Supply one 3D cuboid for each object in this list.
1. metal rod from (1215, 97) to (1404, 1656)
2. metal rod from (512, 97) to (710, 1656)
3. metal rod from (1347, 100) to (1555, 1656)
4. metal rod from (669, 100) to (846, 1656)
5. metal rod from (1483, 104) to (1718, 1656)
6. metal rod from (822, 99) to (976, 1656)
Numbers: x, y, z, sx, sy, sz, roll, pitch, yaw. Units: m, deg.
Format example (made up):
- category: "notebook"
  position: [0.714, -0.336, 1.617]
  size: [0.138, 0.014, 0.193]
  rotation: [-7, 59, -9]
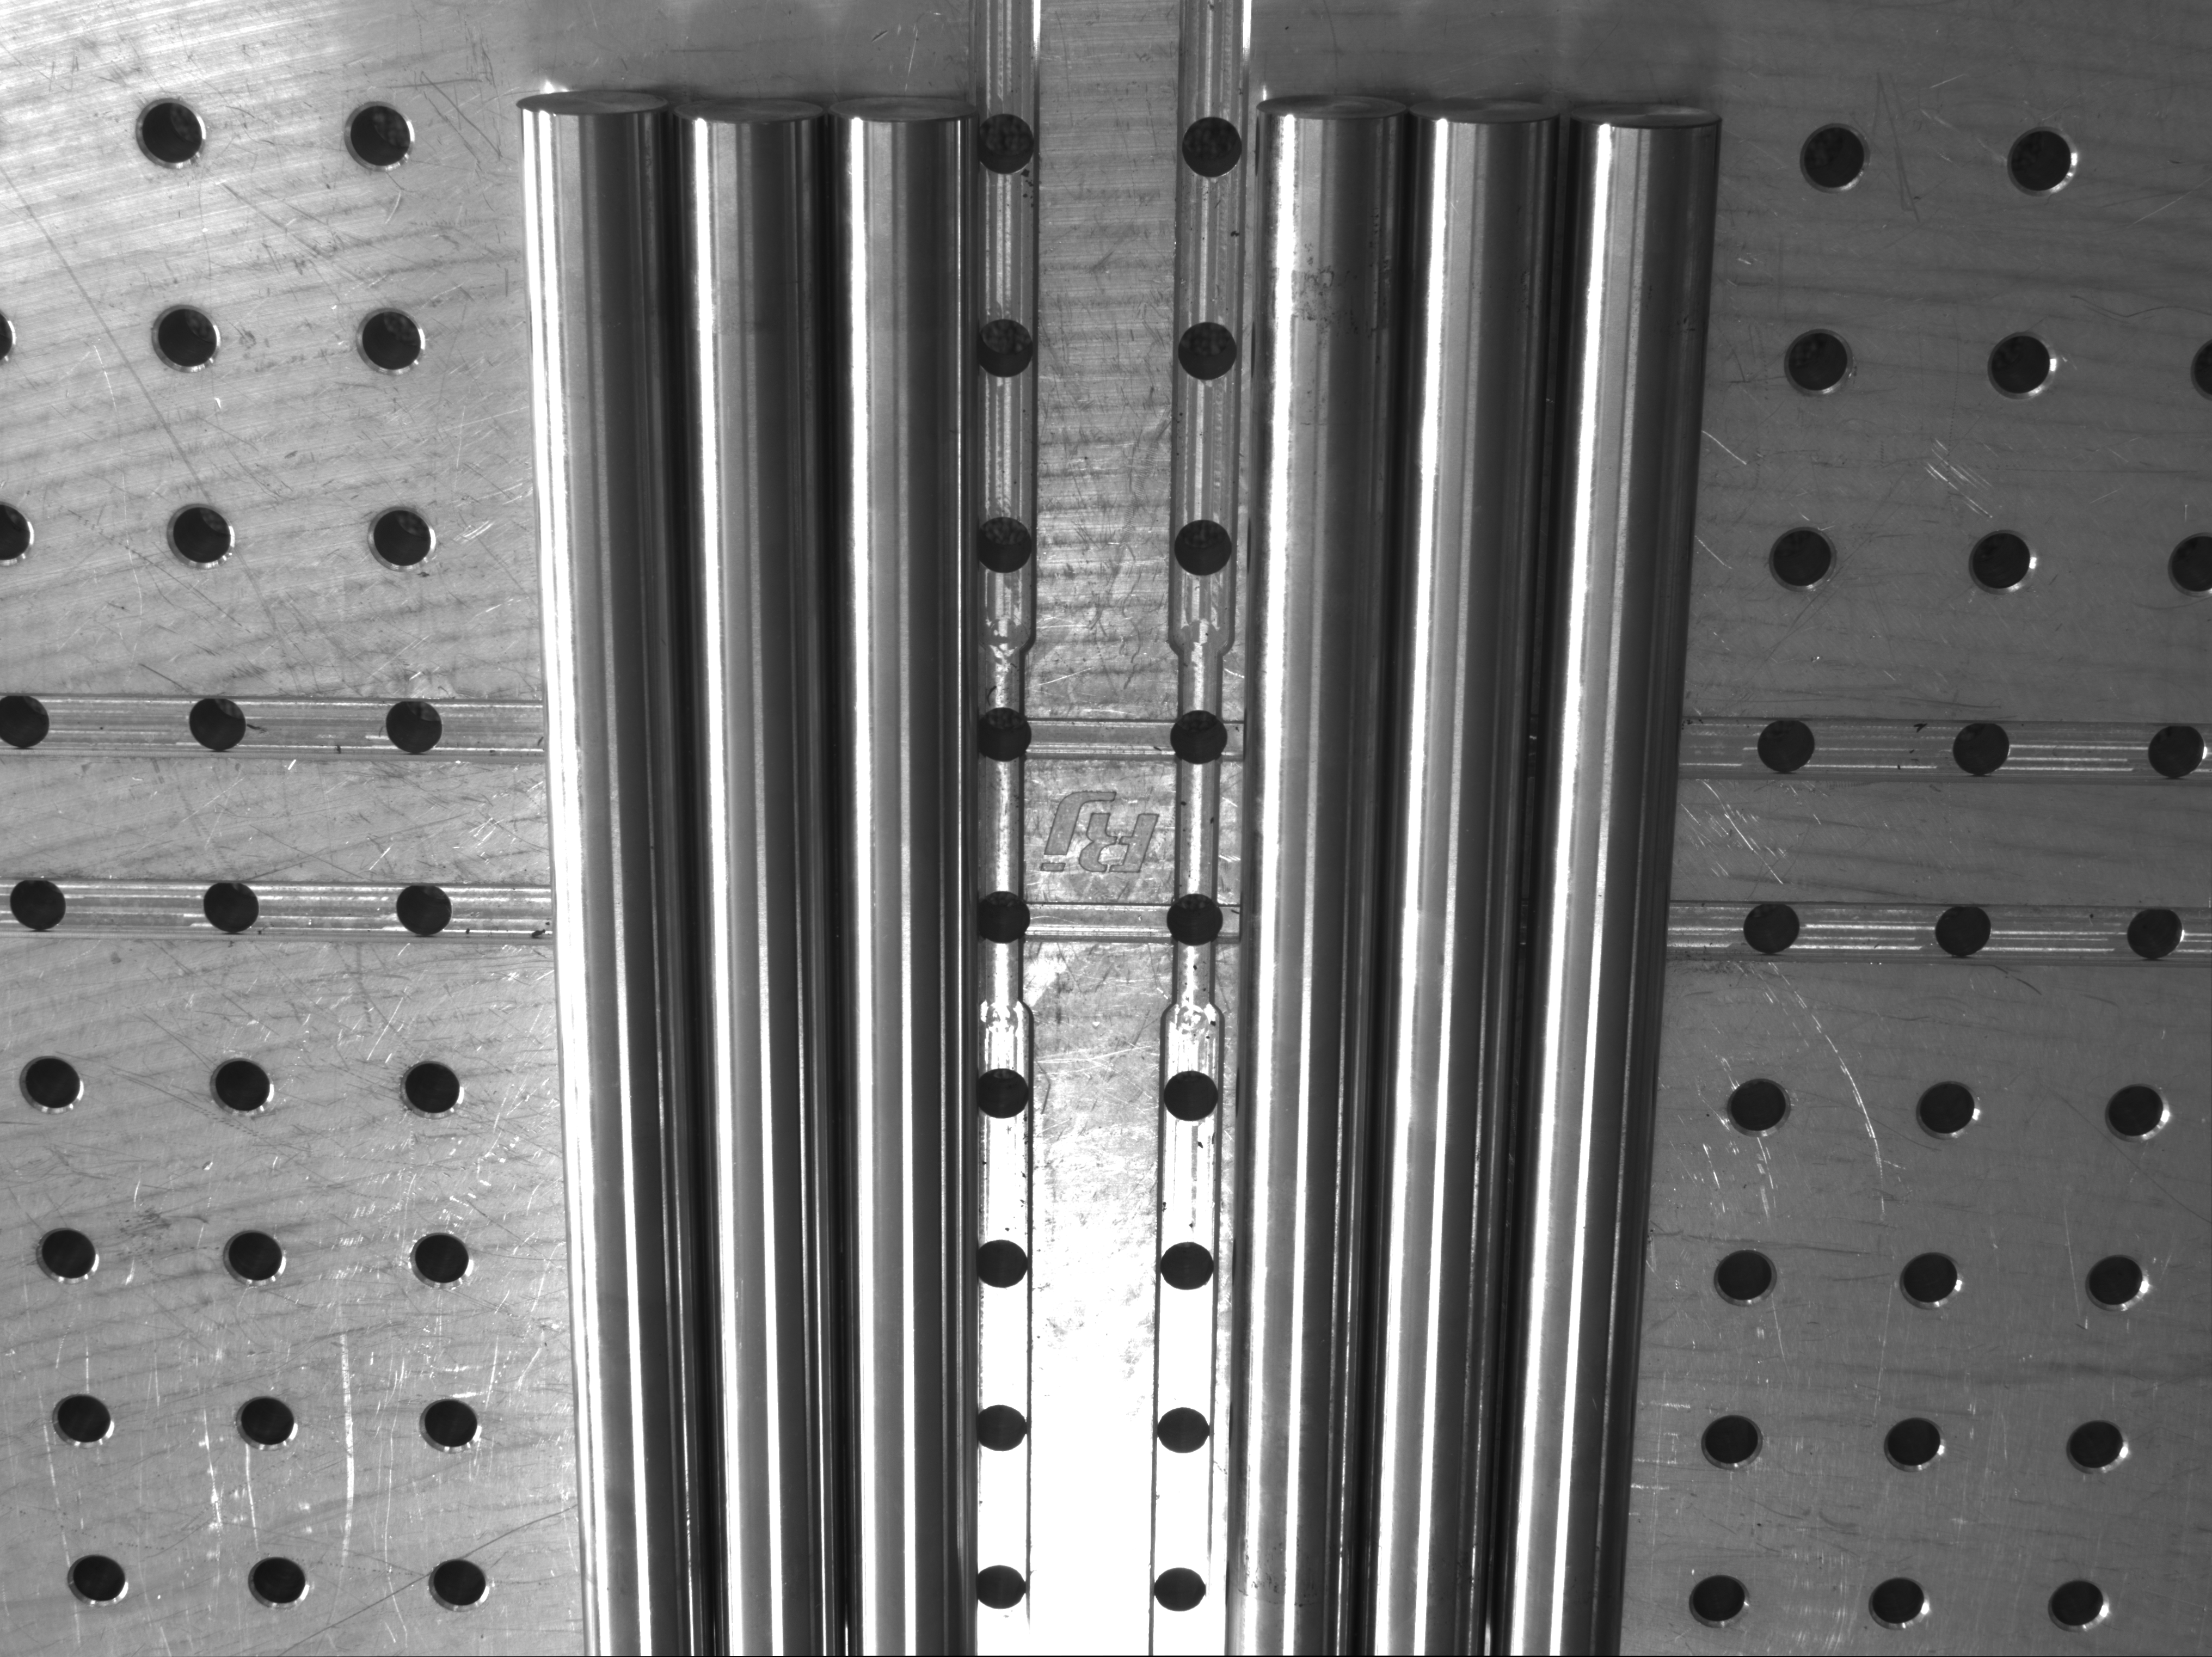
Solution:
- category: "metal rod"
  position: [0.035, 0.023, 0.654]
  size: [0.025, 0.025, 0.300]
  rotation: [1, 110, 0]
- category: "metal rod"
  position: [-0.087, 0.022, 0.654]
  size: [0.025, 0.025, 0.300]
  rotation: [1, 110, 0]
- category: "metal rod"
  position: [0.060, 0.023, 0.655]
  size: [0.025, 0.025, 0.300]
  rotation: [1, 110, 0]
- category: "metal rod"
  position: [-0.061, 0.023, 0.655]
  size: [0.025, 0.025, 0.300]
  rotation: [1, 110, 0]
- category: "metal rod"
  position: [0.086, 0.024, 0.655]
  size: [0.025, 0.025, 0.300]
  rotation: [1, 110, 0]
- category: "metal rod"
  position: [-0.036, 0.023, 0.655]
  size: [0.025, 0.025, 0.300]
  rotation: [1, 110, 0]
